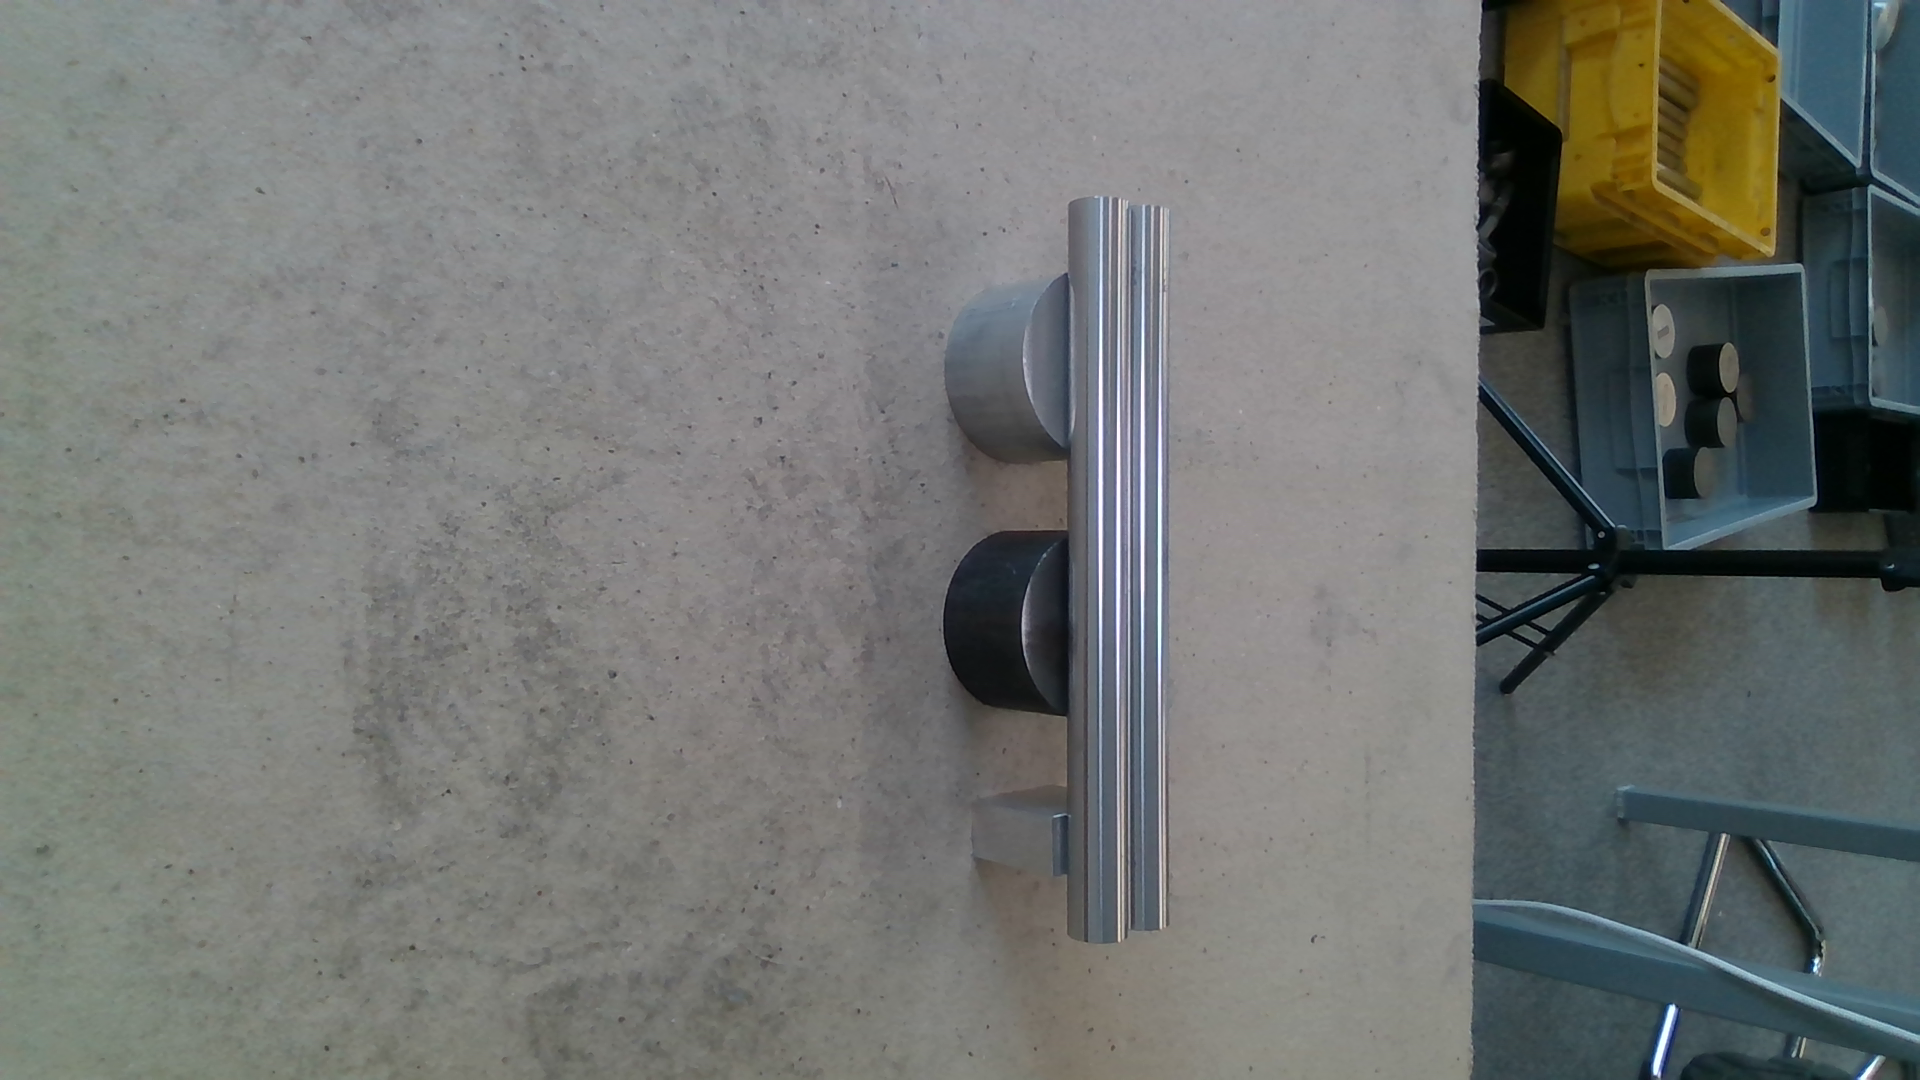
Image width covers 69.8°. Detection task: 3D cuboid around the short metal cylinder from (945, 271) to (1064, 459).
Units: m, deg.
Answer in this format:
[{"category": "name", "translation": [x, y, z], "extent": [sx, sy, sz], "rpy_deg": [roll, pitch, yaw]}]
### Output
[{"category": "short metal cylinder", "translation": [0.040, -0.075, 0.600], "extent": [0.080, 0.050, 0.080], "rpy_deg": [0, 90, -40]}]

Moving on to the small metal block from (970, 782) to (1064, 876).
[{"category": "small metal block", "translation": [0.040, 0.126, 0.603], "extent": [0.050, 0.050, 0.025], "rpy_deg": [-2, 92, -41]}]

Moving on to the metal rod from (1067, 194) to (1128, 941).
[{"category": "metal rod", "translation": [0.056, 0.011, 0.565], "extent": [0.025, 0.025, 0.300], "rpy_deg": [0, 90, -40]}]

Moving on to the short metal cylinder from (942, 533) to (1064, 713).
[{"category": "short metal cylinder", "translation": [0.039, 0.035, 0.601], "extent": [0.080, 0.050, 0.080], "rpy_deg": [0, 90, -40]}]

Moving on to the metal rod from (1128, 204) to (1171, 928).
[{"category": "metal rod", "translation": [0.076, 0.011, 0.582], "extent": [0.025, 0.025, 0.300], "rpy_deg": [0, 90, -40]}]
